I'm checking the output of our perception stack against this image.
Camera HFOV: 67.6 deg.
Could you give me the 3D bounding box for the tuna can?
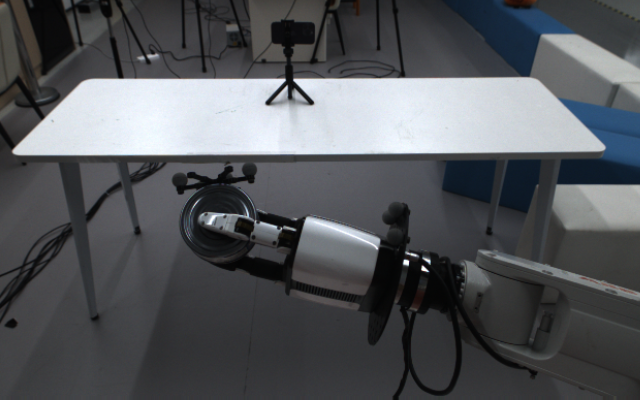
[{"bbox_3d":[-0.106,0.031,0.534,0.085,0.034,0.085,0,72,-1],"label":"tuna can"}]
